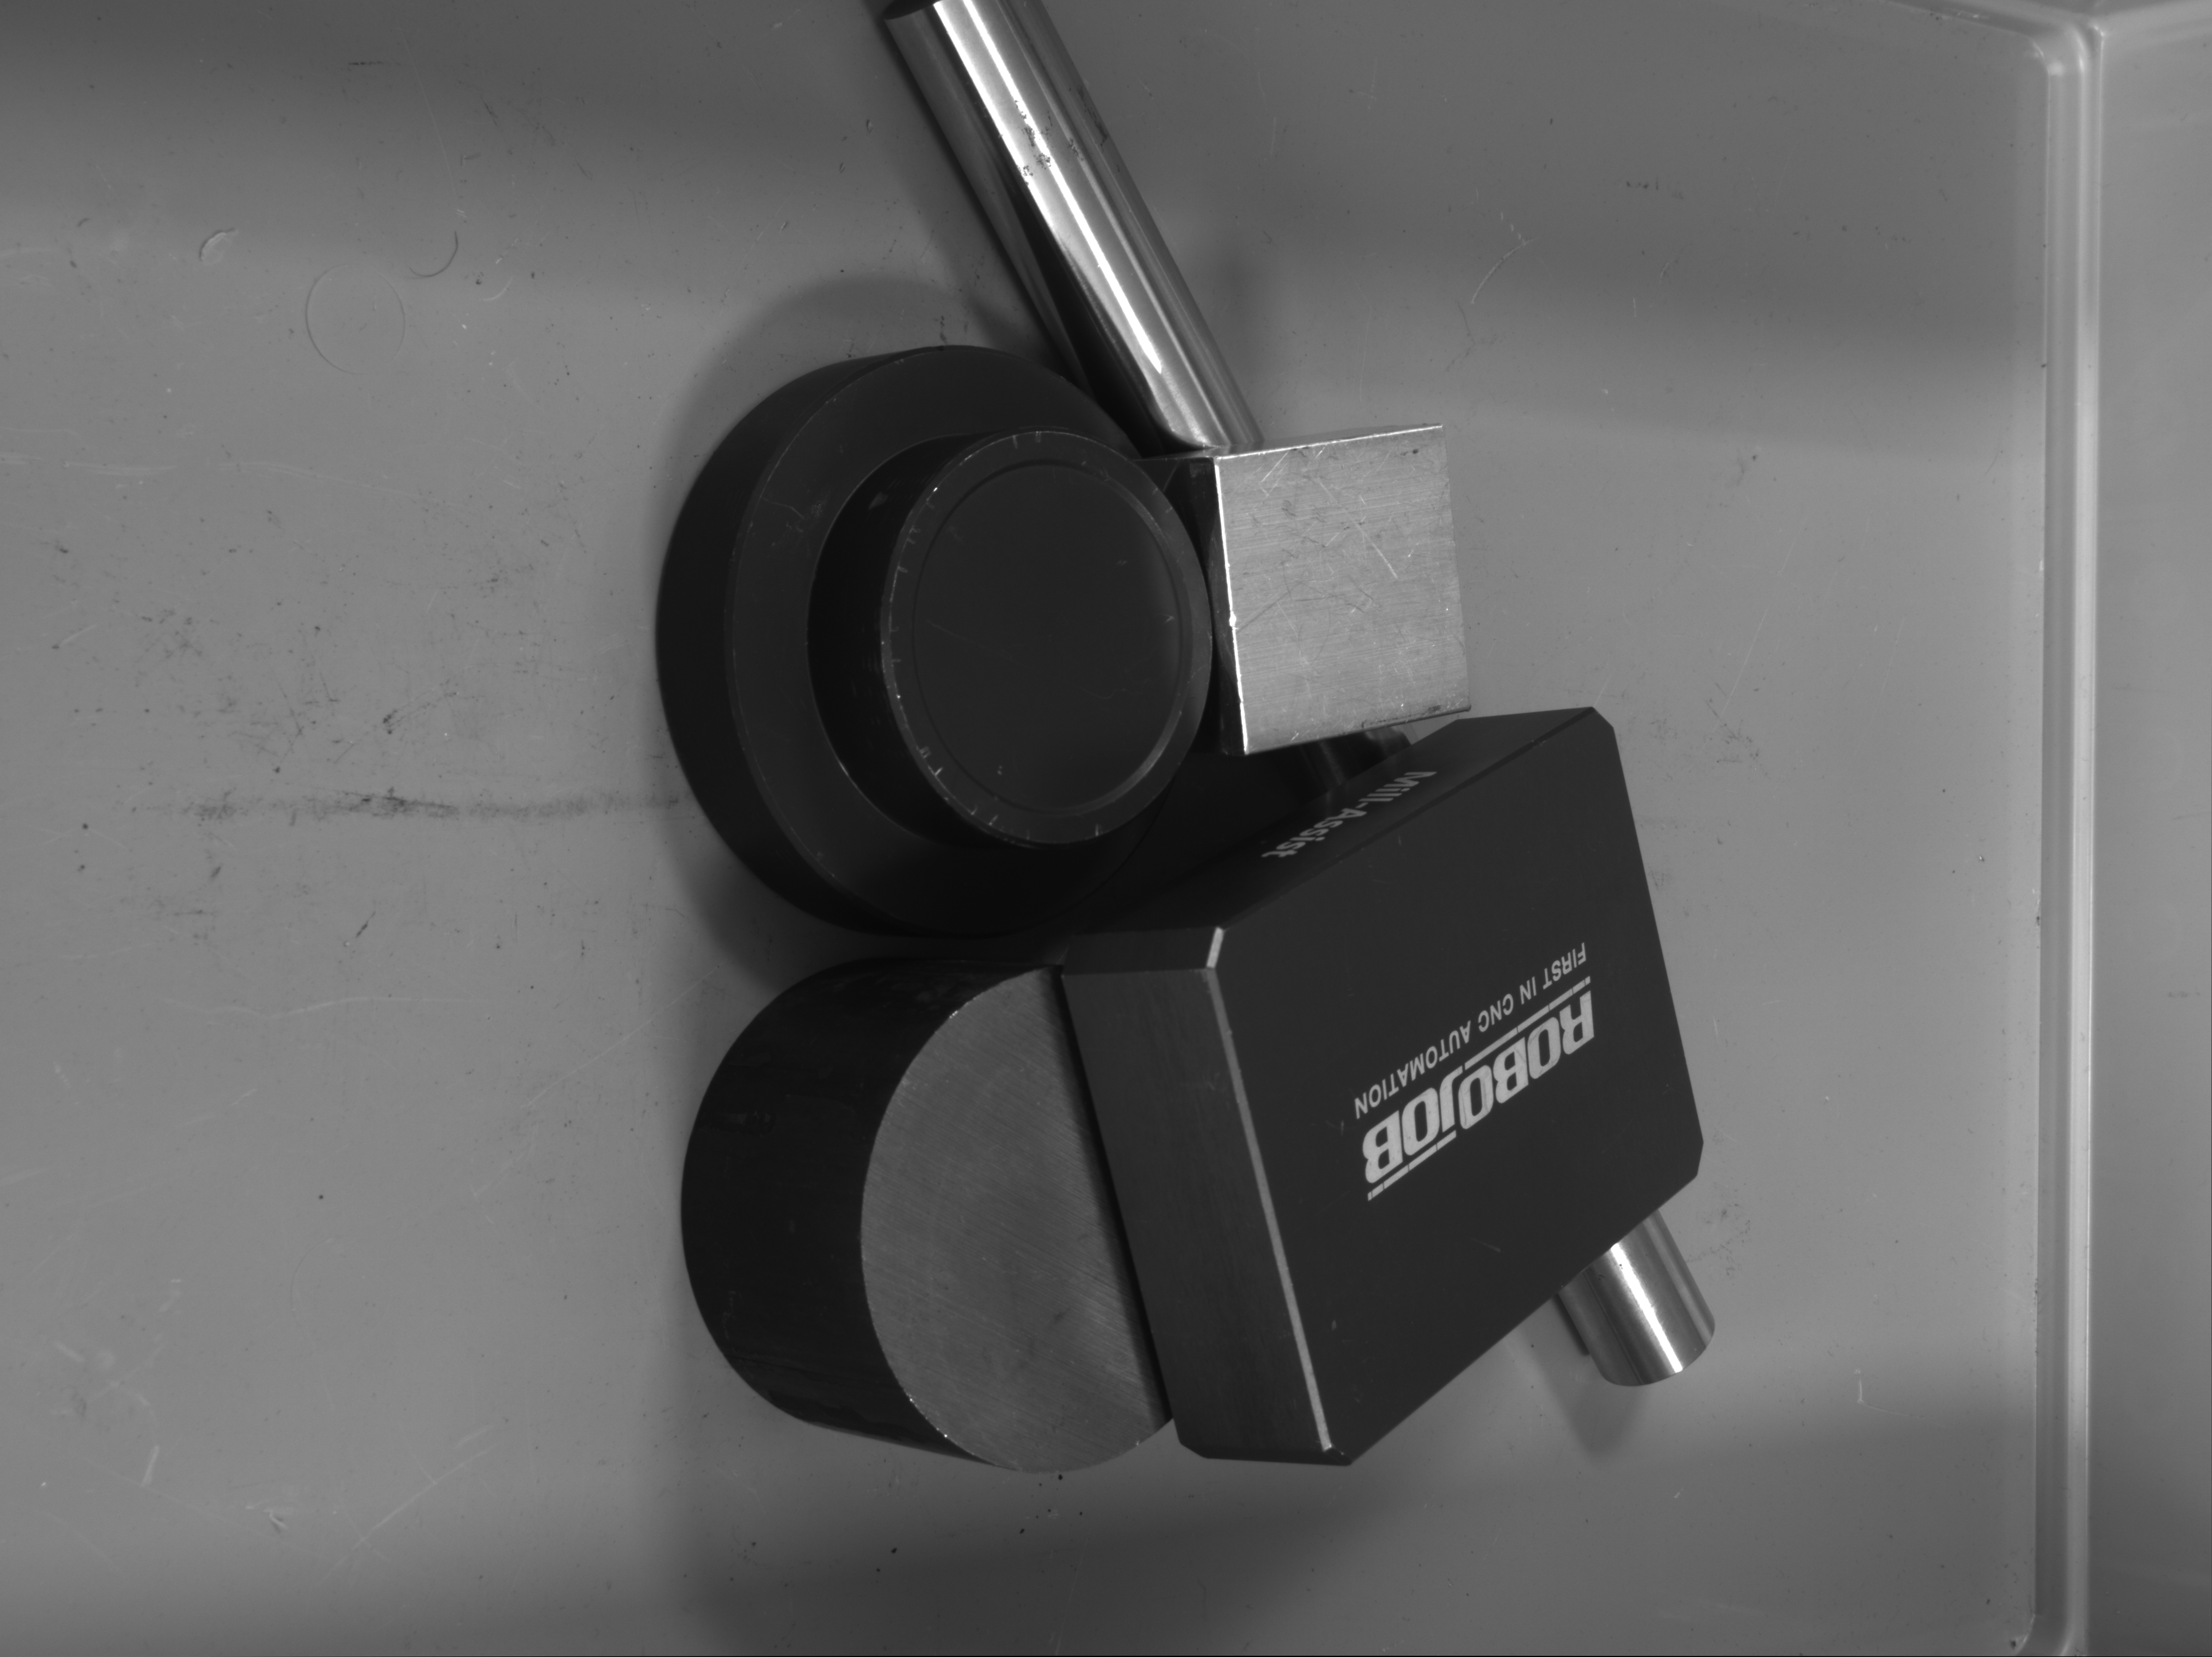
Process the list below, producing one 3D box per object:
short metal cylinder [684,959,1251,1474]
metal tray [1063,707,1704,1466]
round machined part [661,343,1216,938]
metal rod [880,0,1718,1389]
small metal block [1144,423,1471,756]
[{"bbox_3d":[-0.021,0.062,0.600,0.080,0.050,0.080,0,90,-40],"label":"short metal cylinder"},{"bbox_3d":[0.051,0.040,0.624,0.130,0.030,0.090,-28,108,-49],"label":"metal tray"},{"bbox_3d":[-0.021,-0.031,0.605,0.098,0.042,0.098,0,90,-38],"label":"round machined part"},{"bbox_3d":[0.041,-0.019,0.669,0.025,0.025,0.300,-43,116,-31],"label":"metal rod"},{"bbox_3d":[0.033,-0.042,0.632,0.050,0.025,0.050,-12,100,-34],"label":"small metal block"}]
